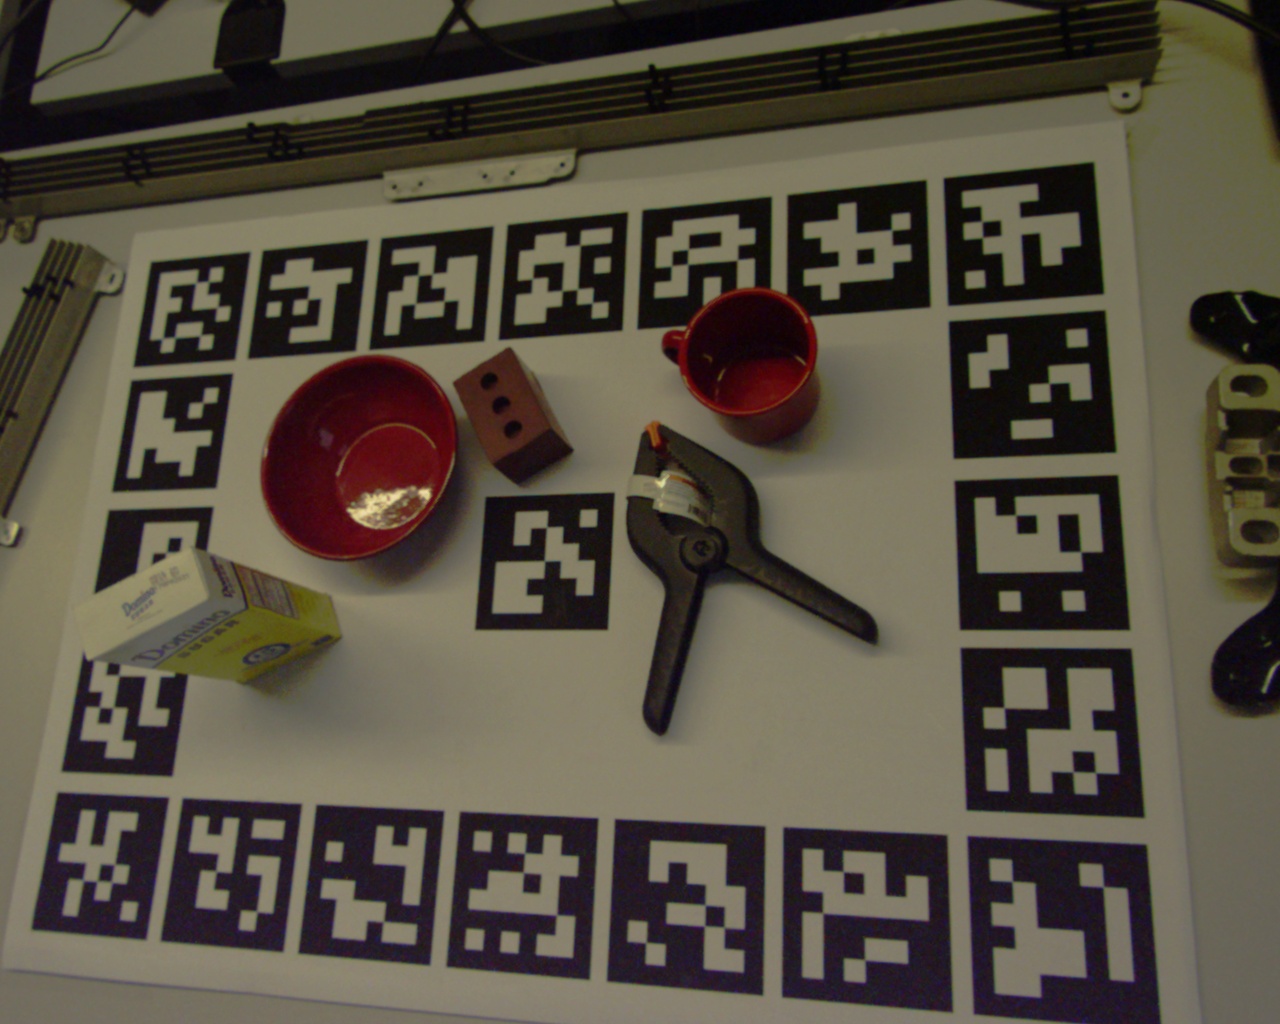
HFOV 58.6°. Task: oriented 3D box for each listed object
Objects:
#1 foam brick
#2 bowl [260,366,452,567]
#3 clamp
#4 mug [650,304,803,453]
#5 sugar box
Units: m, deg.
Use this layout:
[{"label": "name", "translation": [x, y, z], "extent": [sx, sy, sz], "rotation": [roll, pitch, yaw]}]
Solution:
[{"label": "foam brick", "translation": [-0.098, -0.059, 0.879], "extent": [0.053, 0.051, 0.078], "rotation": [-29, 71, 8]}, {"label": "bowl", "translation": [-0.214, -0.030, 0.897], "extent": [0.163, 0.055, 0.162], "rotation": [-4, 75, 14]}, {"label": "clamp", "translation": [0.031, 0.035, 0.812], "extent": [0.166, 0.036, 0.204], "rotation": [-26, 71, 10]}, {"label": "mug", "translation": [0.061, -0.095, 0.818], "extent": [0.118, 0.081, 0.093], "rotation": [25, 83, 17]}, {"label": "sugar box", "translation": [-0.304, 0.087, 0.828], "extent": [0.093, 0.175, 0.045], "rotation": [-26, 73, 6]}]
